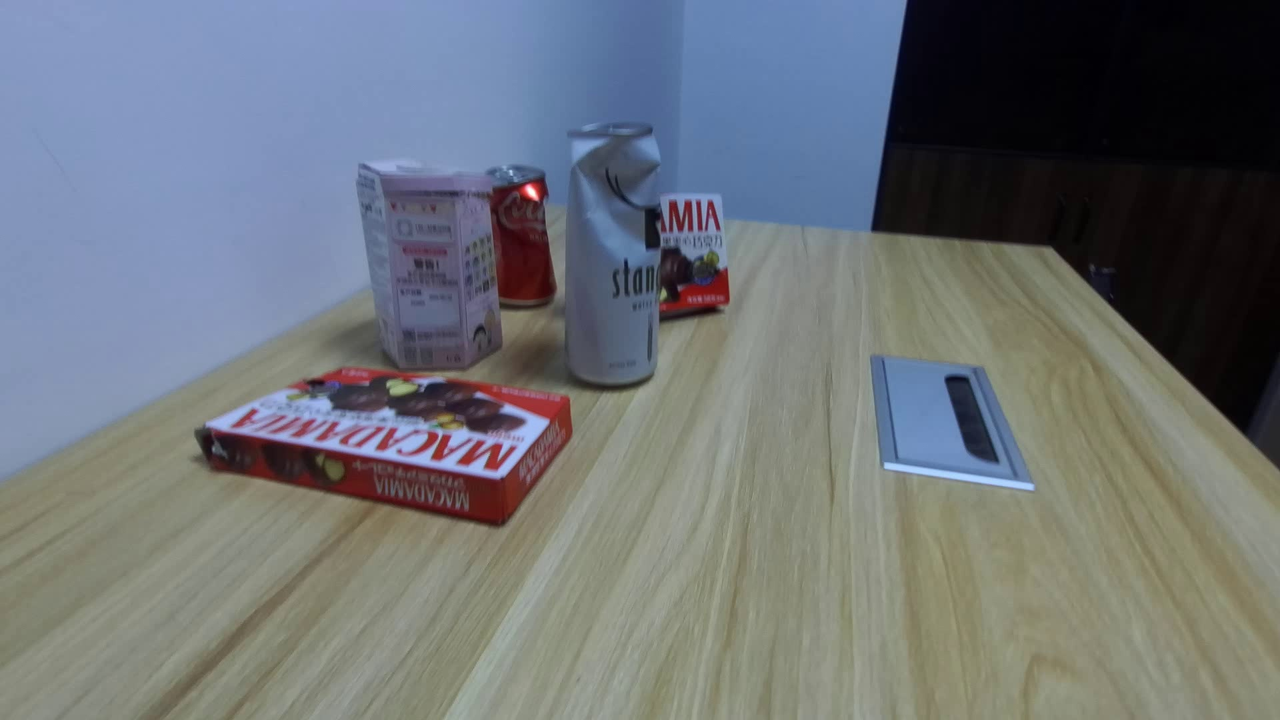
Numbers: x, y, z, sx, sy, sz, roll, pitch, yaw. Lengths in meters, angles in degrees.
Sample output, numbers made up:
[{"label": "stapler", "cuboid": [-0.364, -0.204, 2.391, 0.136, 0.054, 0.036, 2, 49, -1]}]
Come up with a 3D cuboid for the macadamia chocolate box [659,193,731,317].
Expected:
[{"label": "macadamia chocolate box", "cuboid": [0.014, -0.092, 0.589, 0.127, 0.112, 0.056, -9, 27, -21]}]

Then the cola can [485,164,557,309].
[{"label": "cola can", "cuboid": [-0.108, -0.107, 0.622, 0.066, 0.112, 0.069, -4, 23, -9]}]

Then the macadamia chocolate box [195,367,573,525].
[{"label": "macadamia chocolate box", "cuboid": [-0.140, 0.039, 0.402, 0.186, 0.027, 0.103, 8, 23, 13]}]

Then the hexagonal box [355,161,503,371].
[{"label": "hexagonal box", "cuboid": [-0.147, -0.069, 0.504, 0.092, 0.135, 0.085, 0, 24, -3]}]

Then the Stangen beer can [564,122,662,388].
[{"label": "Stangen beer can", "cuboid": [-0.019, -0.067, 0.468, 0.066, 0.166, 0.066, -7, 25, -15]}]
